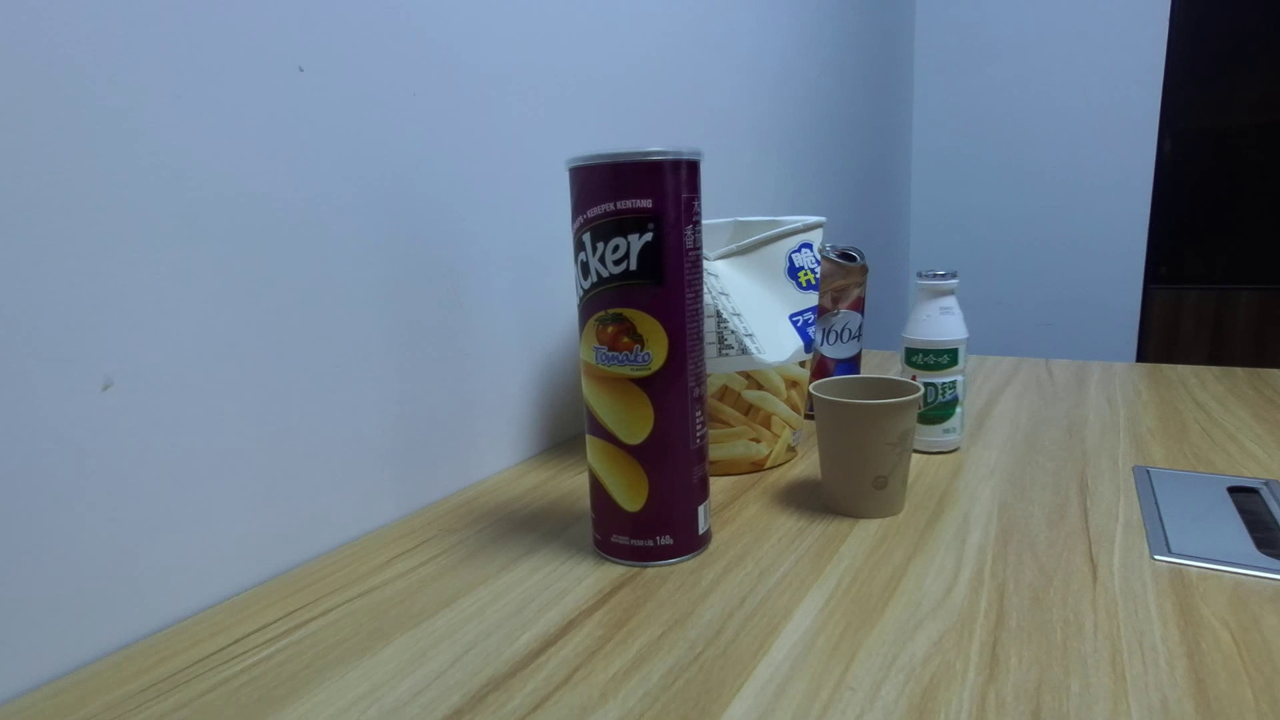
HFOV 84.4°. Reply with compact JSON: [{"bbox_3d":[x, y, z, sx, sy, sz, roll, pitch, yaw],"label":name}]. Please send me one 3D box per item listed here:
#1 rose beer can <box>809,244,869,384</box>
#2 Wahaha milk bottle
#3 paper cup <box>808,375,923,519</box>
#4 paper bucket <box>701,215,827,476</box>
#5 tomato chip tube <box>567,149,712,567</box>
[{"bbox_3d":[0.184,-0.028,0.697,0.069,0.168,0.069,4,14,14],"label":"rose beer can"},{"bbox_3d":[0.242,0.001,0.583,0.053,0.147,0.053,-3,11,1],"label":"Wahaha milk bottle"},{"bbox_3d":[0.152,0.058,0.478,0.075,0.082,0.075,-2,11,1],"label":"paper cup"},{"bbox_3d":[0.055,-0.017,0.589,0.168,0.202,0.163,1,12,31],"label":"paper bucket"},{"bbox_3d":[0.003,0.001,0.425,0.078,0.233,0.078,-2,10,1],"label":"tomato chip tube"}]
